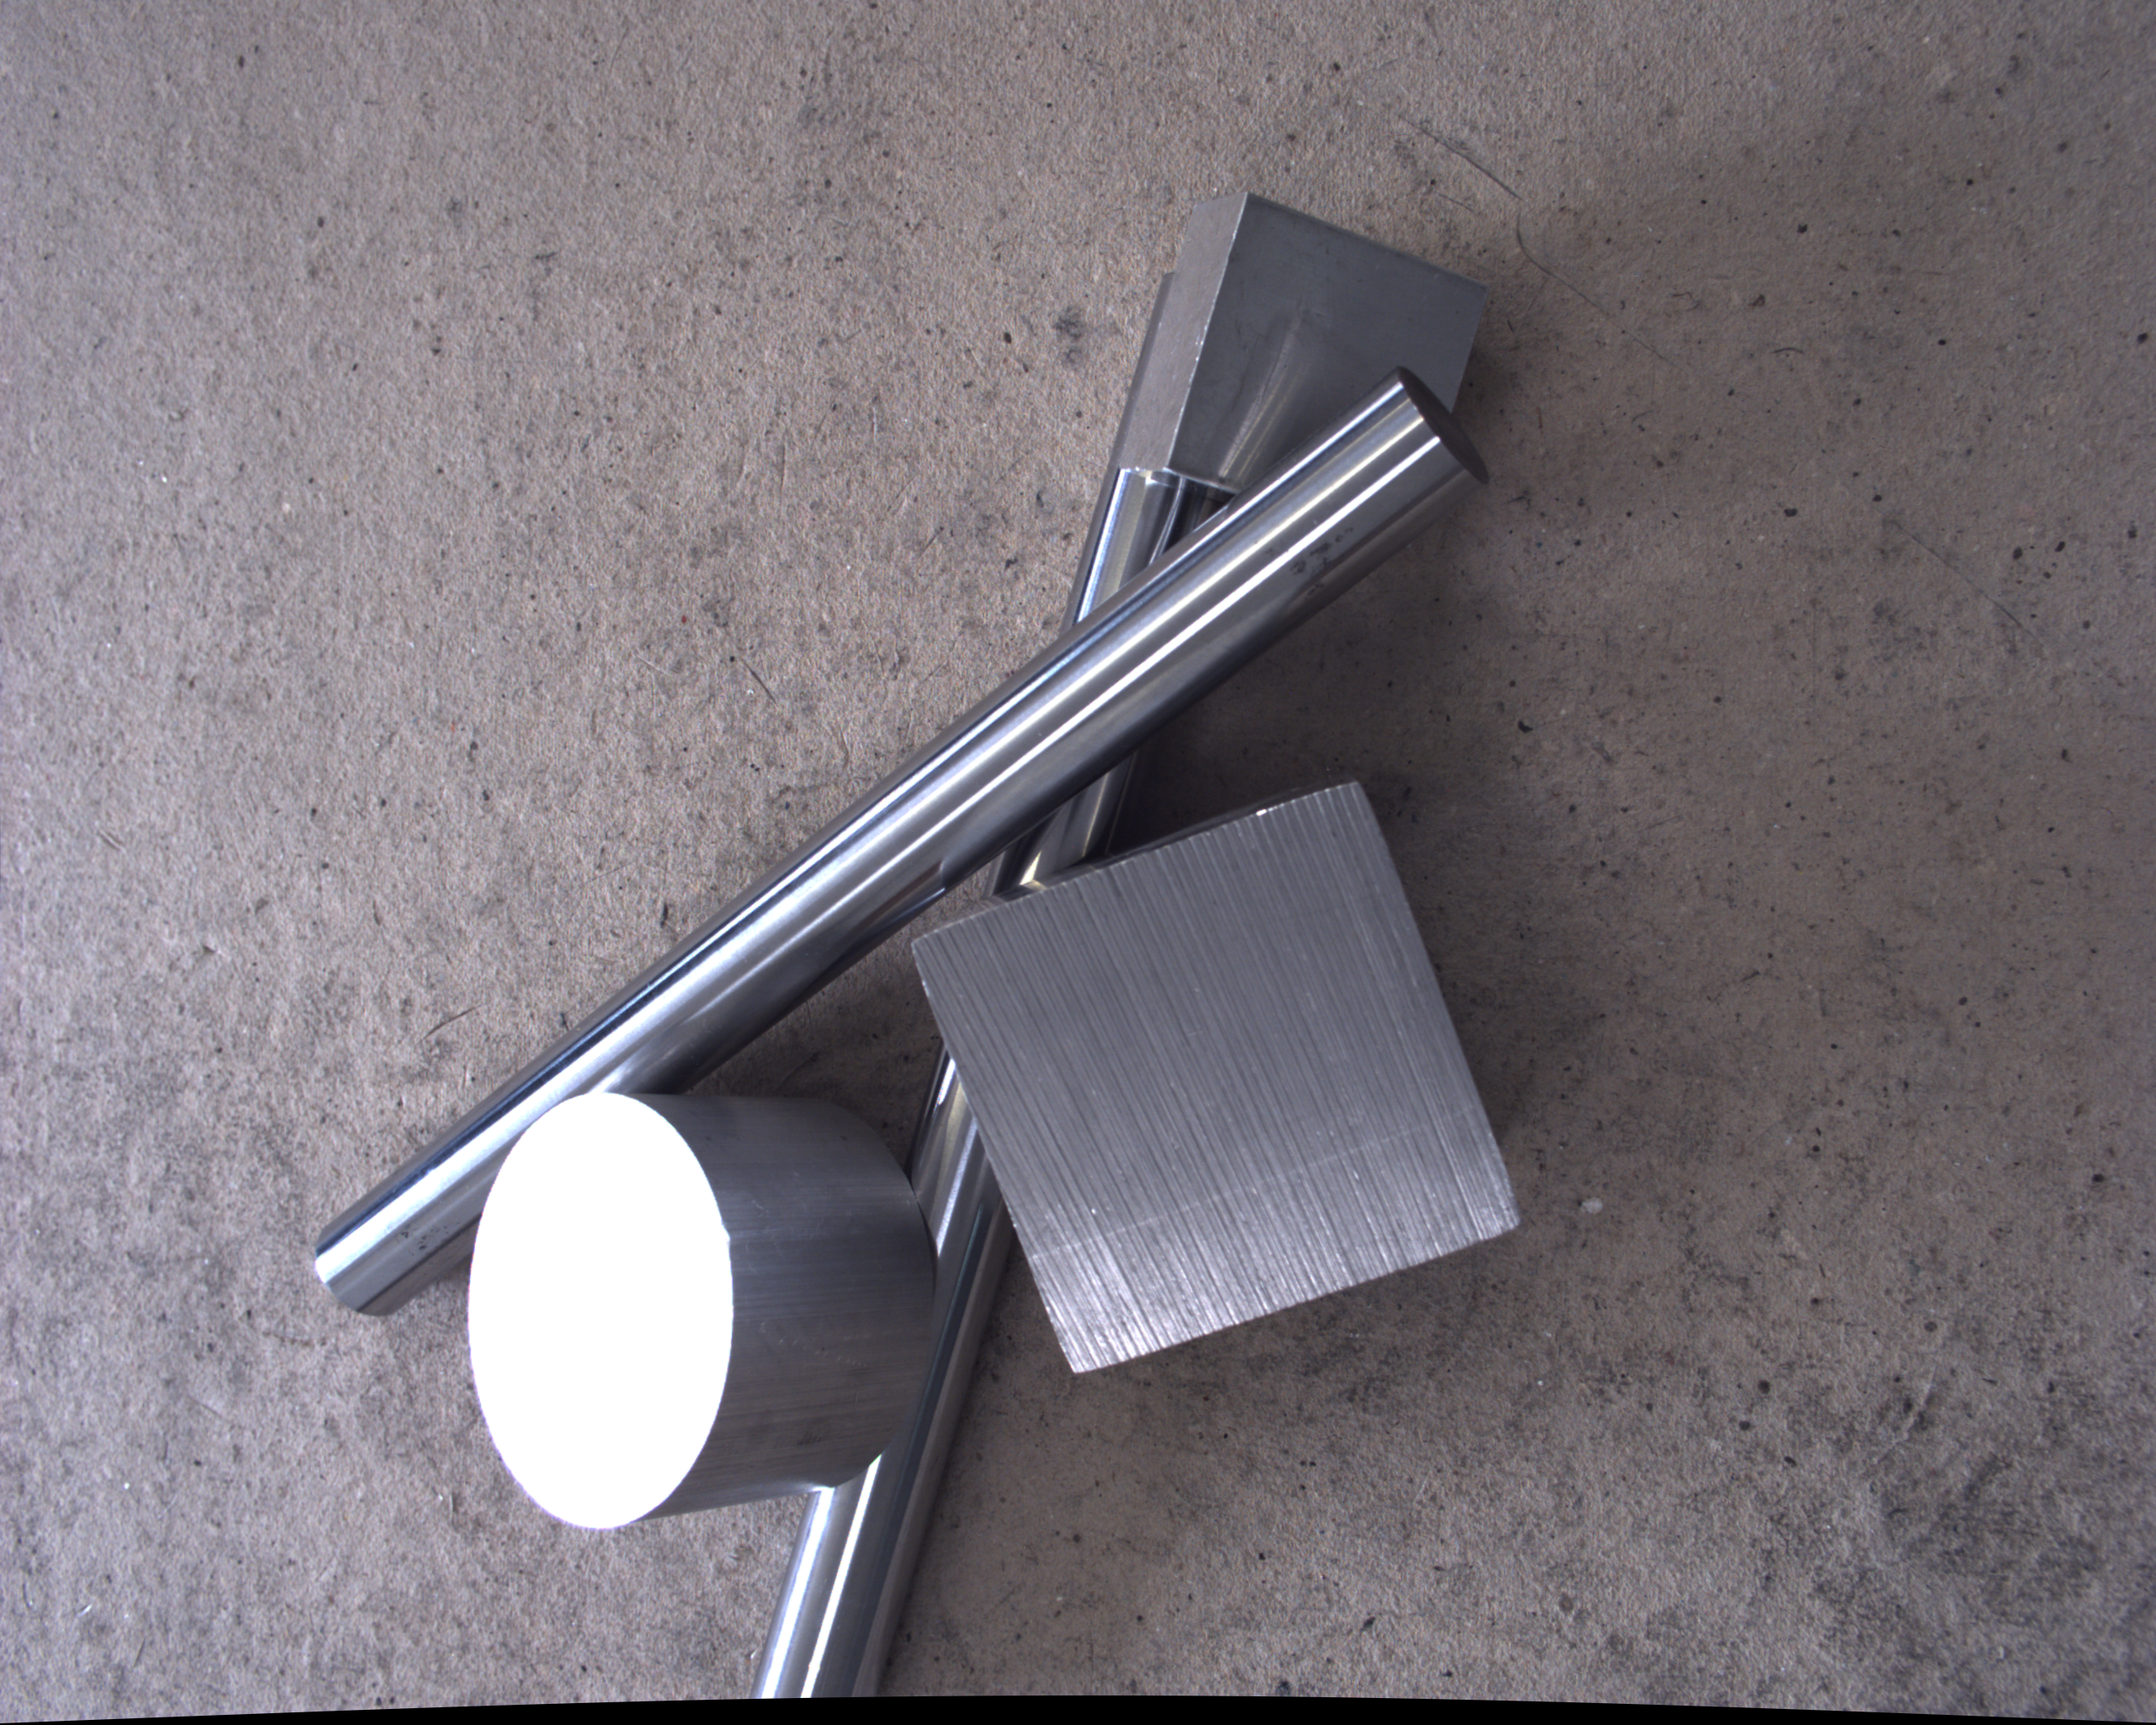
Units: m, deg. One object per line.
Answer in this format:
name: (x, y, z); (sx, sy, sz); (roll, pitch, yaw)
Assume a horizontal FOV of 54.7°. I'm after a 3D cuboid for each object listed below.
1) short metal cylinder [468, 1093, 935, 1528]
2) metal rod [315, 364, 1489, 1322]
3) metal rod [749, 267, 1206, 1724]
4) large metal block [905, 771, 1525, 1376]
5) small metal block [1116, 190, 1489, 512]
short metal cylinder: (-0.075, 0.086, 0.410); (0.080, 0.050, 0.080); (-7, 79, 39)
metal rod: (-0.049, 0.009, 0.409); (0.299, 0.025, 0.025); (-37, 78, 23)
metal rod: (-0.014, 0.033, 0.414); (0.025, 0.025, 0.298); (18, 96, 19)
large metal block: (0.025, 0.034, 0.372); (0.080, 0.050, 0.080); (-20, 93, 6)
small metal block: (0.041, -0.089, 0.382); (0.050, 0.025, 0.050); (14, 96, -21)
